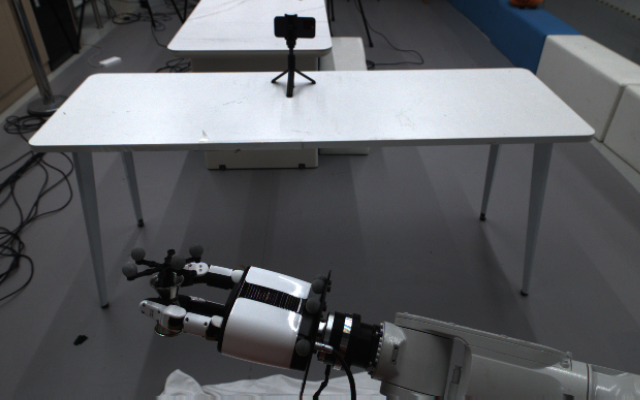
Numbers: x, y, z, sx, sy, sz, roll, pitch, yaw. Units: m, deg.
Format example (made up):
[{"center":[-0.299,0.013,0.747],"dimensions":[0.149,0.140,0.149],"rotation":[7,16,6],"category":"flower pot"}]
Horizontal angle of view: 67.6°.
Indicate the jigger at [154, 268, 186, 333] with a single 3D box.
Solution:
[{"center":[-0.185,0.129,0.601],"dimensions":[0.043,0.071,0.043],"rotation":[0,22,0],"category":"jigger"}]
